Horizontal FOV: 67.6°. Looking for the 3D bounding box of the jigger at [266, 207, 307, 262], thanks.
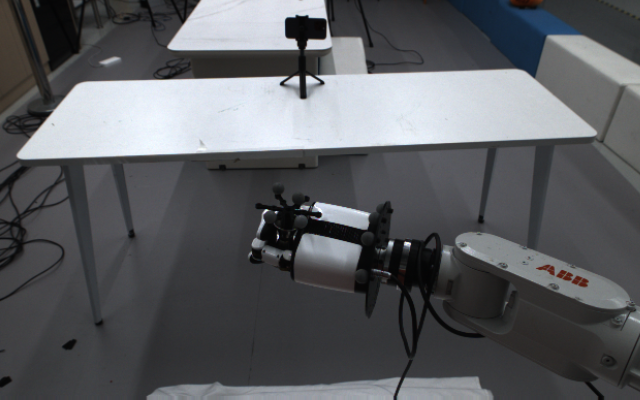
[{"bbox_3d":[-0.046,0.057,0.675,0.043,0.071,0.043,7,32,-4],"label":"jigger"}]
